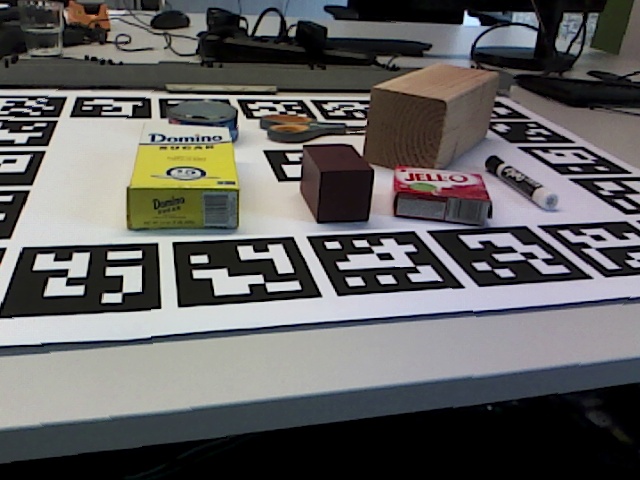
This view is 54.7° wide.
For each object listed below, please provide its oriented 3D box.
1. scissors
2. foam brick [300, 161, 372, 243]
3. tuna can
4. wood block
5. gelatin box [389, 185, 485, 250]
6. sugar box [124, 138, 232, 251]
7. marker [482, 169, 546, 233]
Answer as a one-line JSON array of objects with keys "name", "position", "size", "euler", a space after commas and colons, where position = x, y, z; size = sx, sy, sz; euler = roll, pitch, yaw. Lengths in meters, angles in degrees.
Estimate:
[{"name": "scissors", "position": [0.015, -0.136, 0.814], "size": [0.202, 0.016, 0.088], "euler": [0, 30, -6]}, {"name": "foam brick", "position": [0.013, -0.038, 0.597], "size": [0.052, 0.051, 0.078], "euler": [-2, 31, -12]}, {"name": "tuna can", "position": [-0.150, -0.135, 0.760], "size": [0.086, 0.033, 0.086], "euler": [4, 30, -3]}, {"name": "wood block", "position": [0.146, -0.139, 0.771], "size": [0.090, 0.091, 0.205], "euler": [19, 32, 24]}, {"name": "gelatin box", "position": [0.115, -0.025, 0.620], "size": [0.089, 0.030, 0.073], "euler": [7, 30, 3]}, {"name": "sugar box", "position": [-0.136, -0.051, 0.611], "size": [0.092, 0.045, 0.177], "euler": [1, 30, -10]}, {"name": "marker", "position": [0.211, -0.046, 0.681], "size": [0.019, 0.019, 0.121], "euler": [-2, 33, -13]}]
